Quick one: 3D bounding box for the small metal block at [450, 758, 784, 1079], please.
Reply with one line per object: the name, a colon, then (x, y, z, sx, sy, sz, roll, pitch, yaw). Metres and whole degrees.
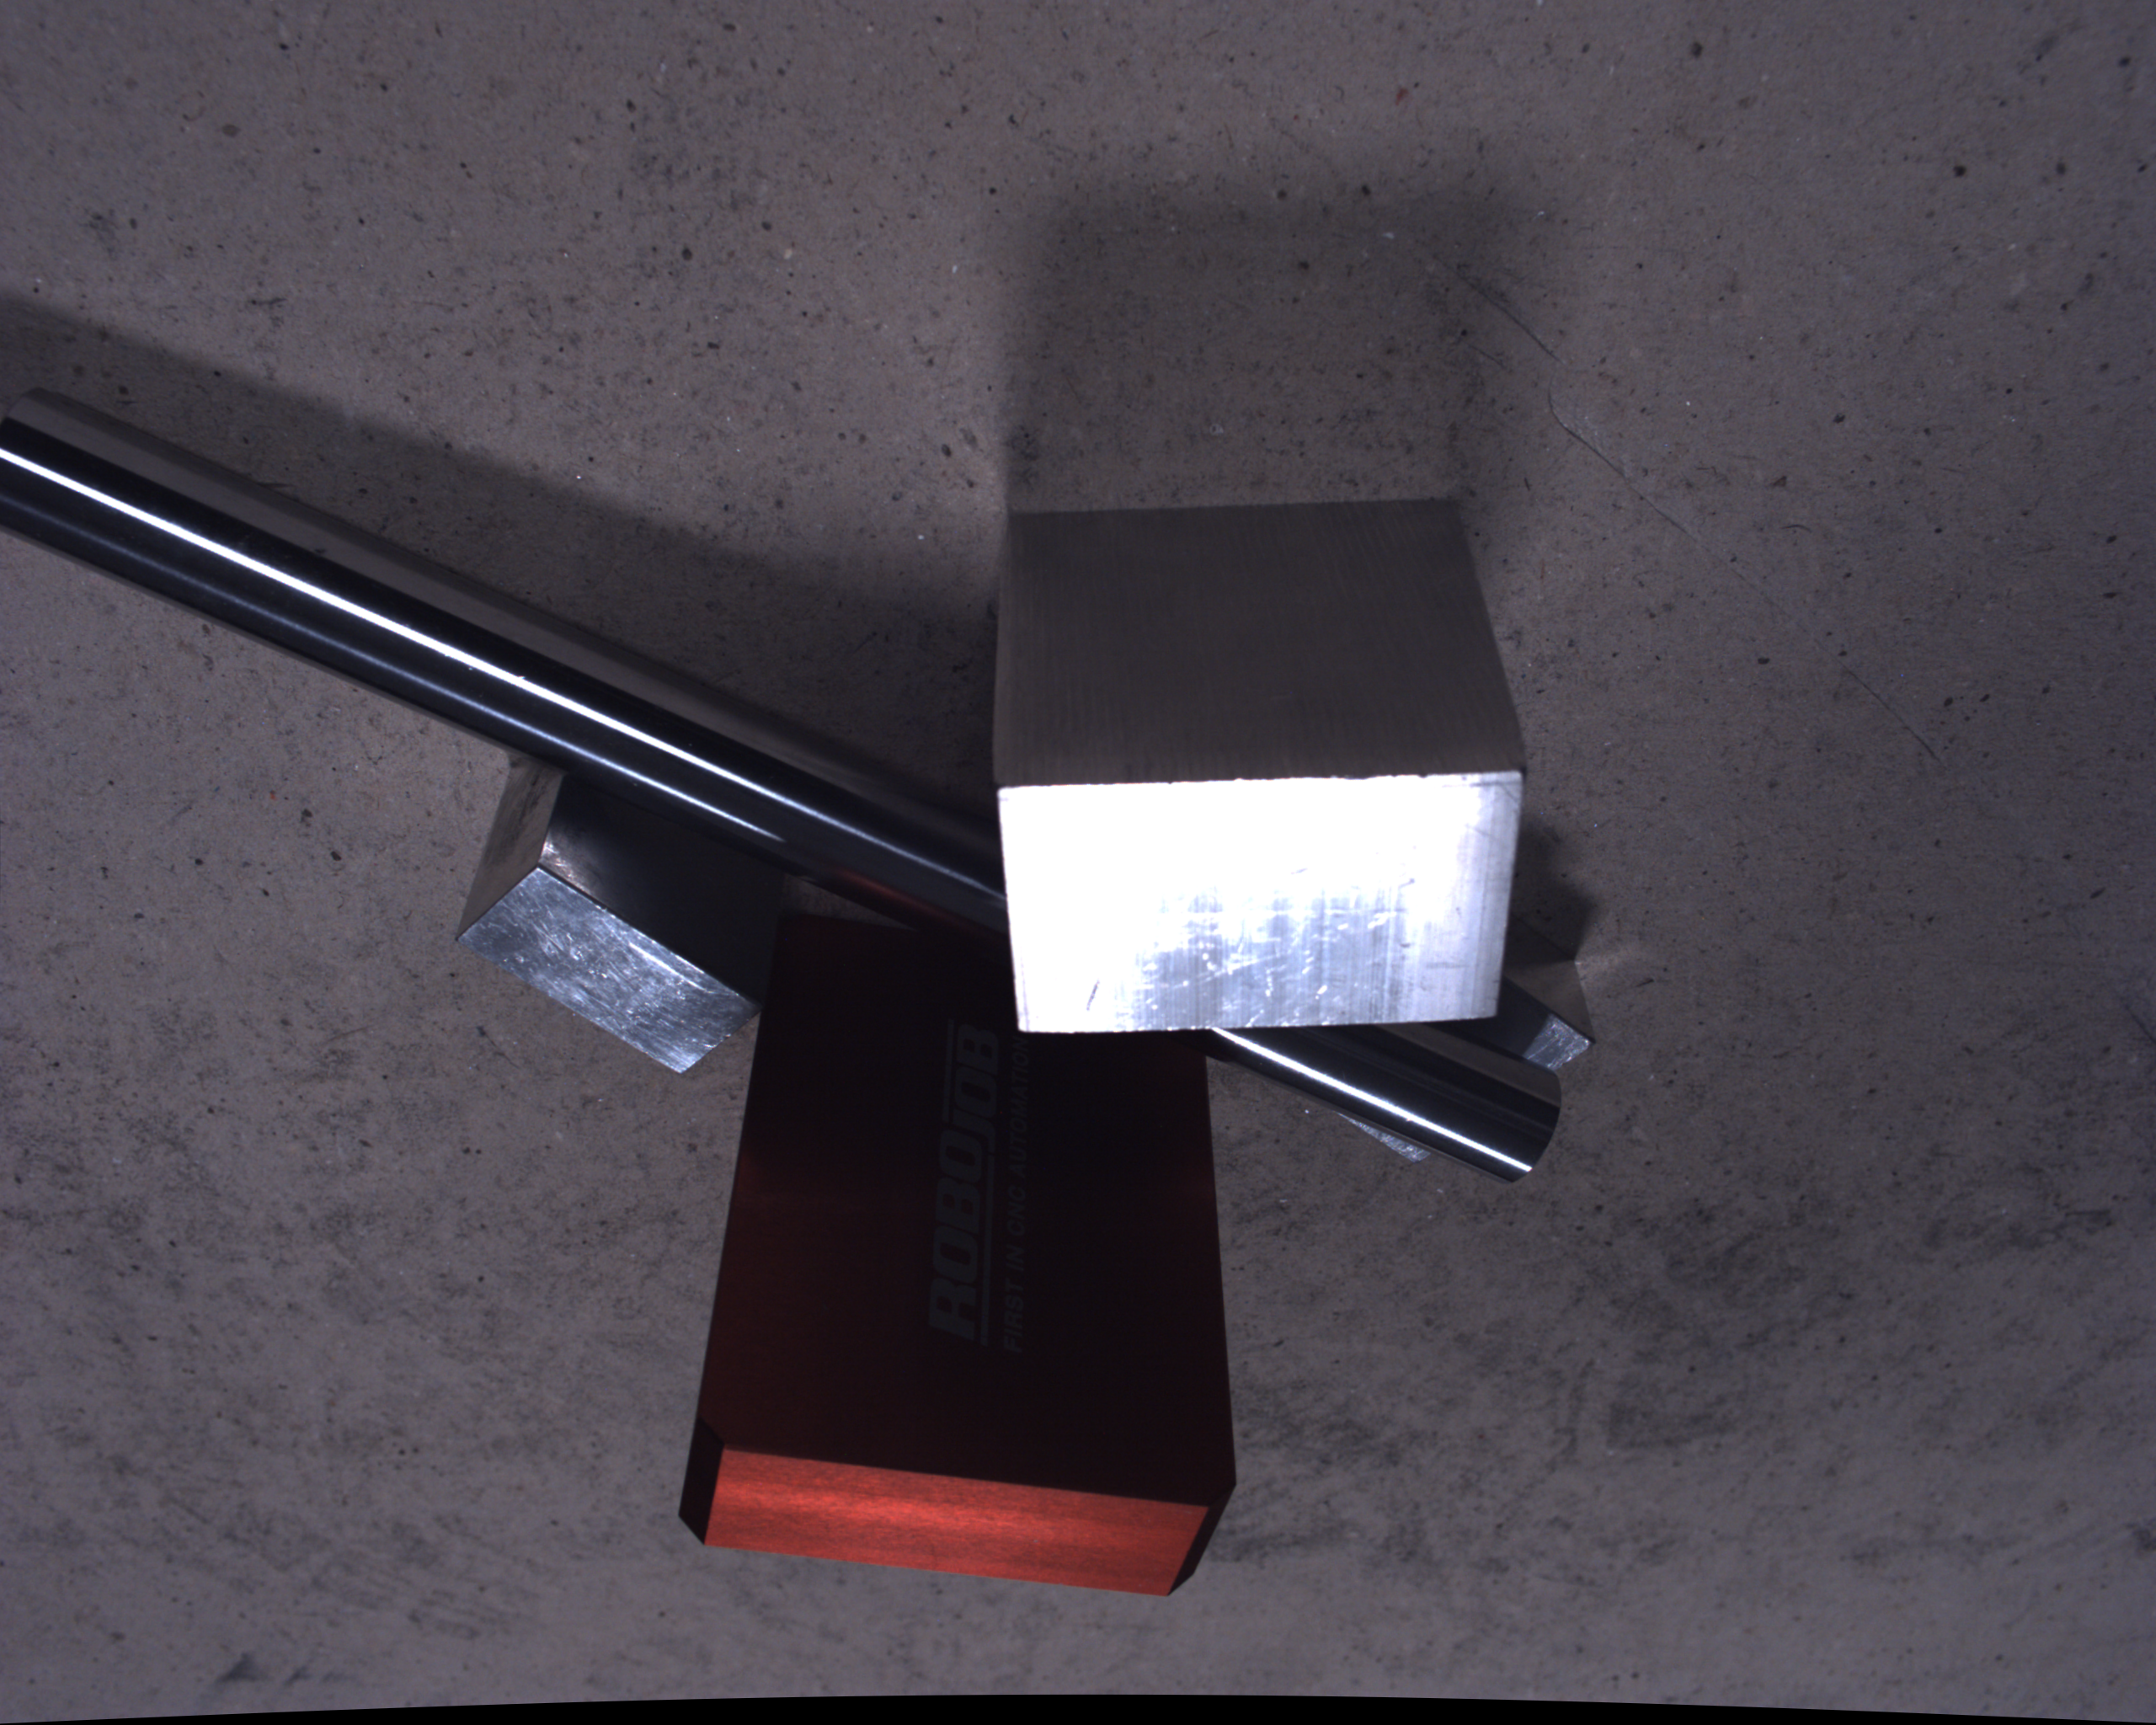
small metal block: (-0.085, 0.005, 0.394, 0.050, 0.050, 0.025, 37, 121, -27)

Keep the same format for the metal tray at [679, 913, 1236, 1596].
metal tray: (-0.021, 0.069, 0.399, 0.091, 0.130, 0.030, 10, 129, -8)

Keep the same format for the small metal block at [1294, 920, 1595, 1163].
small metal block: (0.070, 0.030, 0.436, 0.050, 0.025, 0.050, 34, 122, -26)

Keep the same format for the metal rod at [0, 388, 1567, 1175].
metal rod: (-0.044, -0.009, 0.383, 0.302, 0.025, 0.025, 24, 126, -13)

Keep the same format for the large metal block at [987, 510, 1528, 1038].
large metal block: (0.027, -0.017, 0.357, 0.081, 0.080, 0.050, -2, 130, 1)
